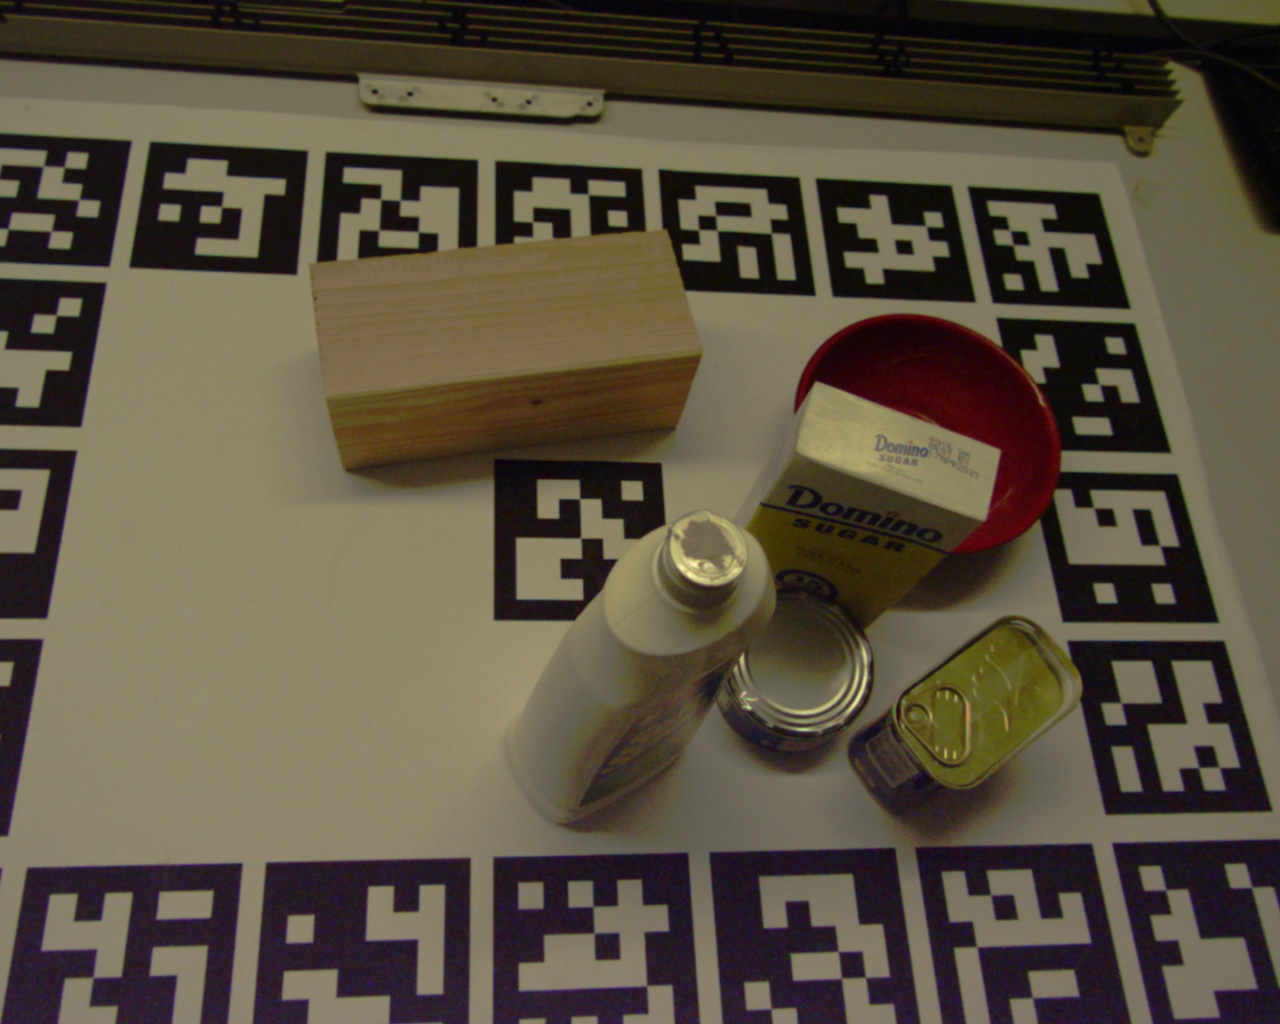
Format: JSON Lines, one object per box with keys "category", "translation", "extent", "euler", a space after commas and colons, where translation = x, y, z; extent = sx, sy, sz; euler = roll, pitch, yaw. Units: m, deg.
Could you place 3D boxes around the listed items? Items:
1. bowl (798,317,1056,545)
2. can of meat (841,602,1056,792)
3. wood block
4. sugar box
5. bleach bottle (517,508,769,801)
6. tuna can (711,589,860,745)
{"category": "bowl", "translation": [0.174, -0.043, 0.724], "extent": [0.161, 0.055, 0.162], "euler": [1, 65, -3]}
{"category": "can of meat", "translation": [0.169, 0.107, 0.642], "extent": [0.101, 0.084, 0.058], "euler": [-28, 69, -21]}
{"category": "wood block", "translation": [-0.081, -0.093, 0.696], "extent": [0.205, 0.090, 0.091], "euler": [-8, 71, -13]}
{"category": "sugar box", "translation": [0.110, 0.005, 0.623], "extent": [0.093, 0.176, 0.045], "euler": [19, 66, 4]}
{"category": "bleach bottle", "translation": [-0.001, 0.068, 0.540], "extent": [0.102, 0.251, 0.068], "euler": [-24, 70, -18]}
{"category": "tuna can", "translation": [0.080, 0.090, 0.658], "extent": [0.085, 0.034, 0.086], "euler": [2, 68, -6]}
